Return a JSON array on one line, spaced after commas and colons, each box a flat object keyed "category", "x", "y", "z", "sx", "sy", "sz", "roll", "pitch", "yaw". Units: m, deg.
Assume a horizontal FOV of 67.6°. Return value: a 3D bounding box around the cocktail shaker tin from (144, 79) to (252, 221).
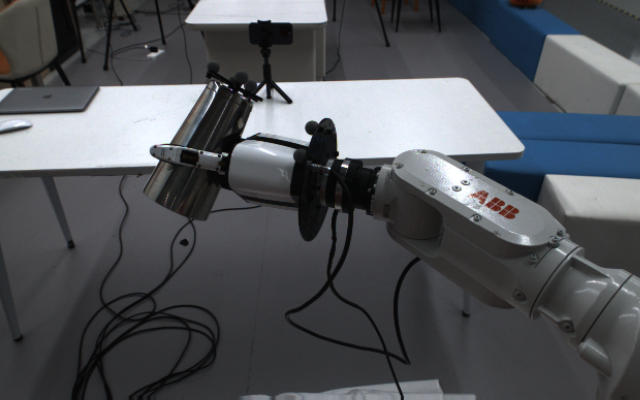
[{"category": "cocktail shaker tin", "x": -0.156, "y": -0.072, "z": 0.648, "sx": 0.093, "sy": 0.170, "sz": 0.093, "roll": 28, "pitch": 2, "yaw": -1}]
